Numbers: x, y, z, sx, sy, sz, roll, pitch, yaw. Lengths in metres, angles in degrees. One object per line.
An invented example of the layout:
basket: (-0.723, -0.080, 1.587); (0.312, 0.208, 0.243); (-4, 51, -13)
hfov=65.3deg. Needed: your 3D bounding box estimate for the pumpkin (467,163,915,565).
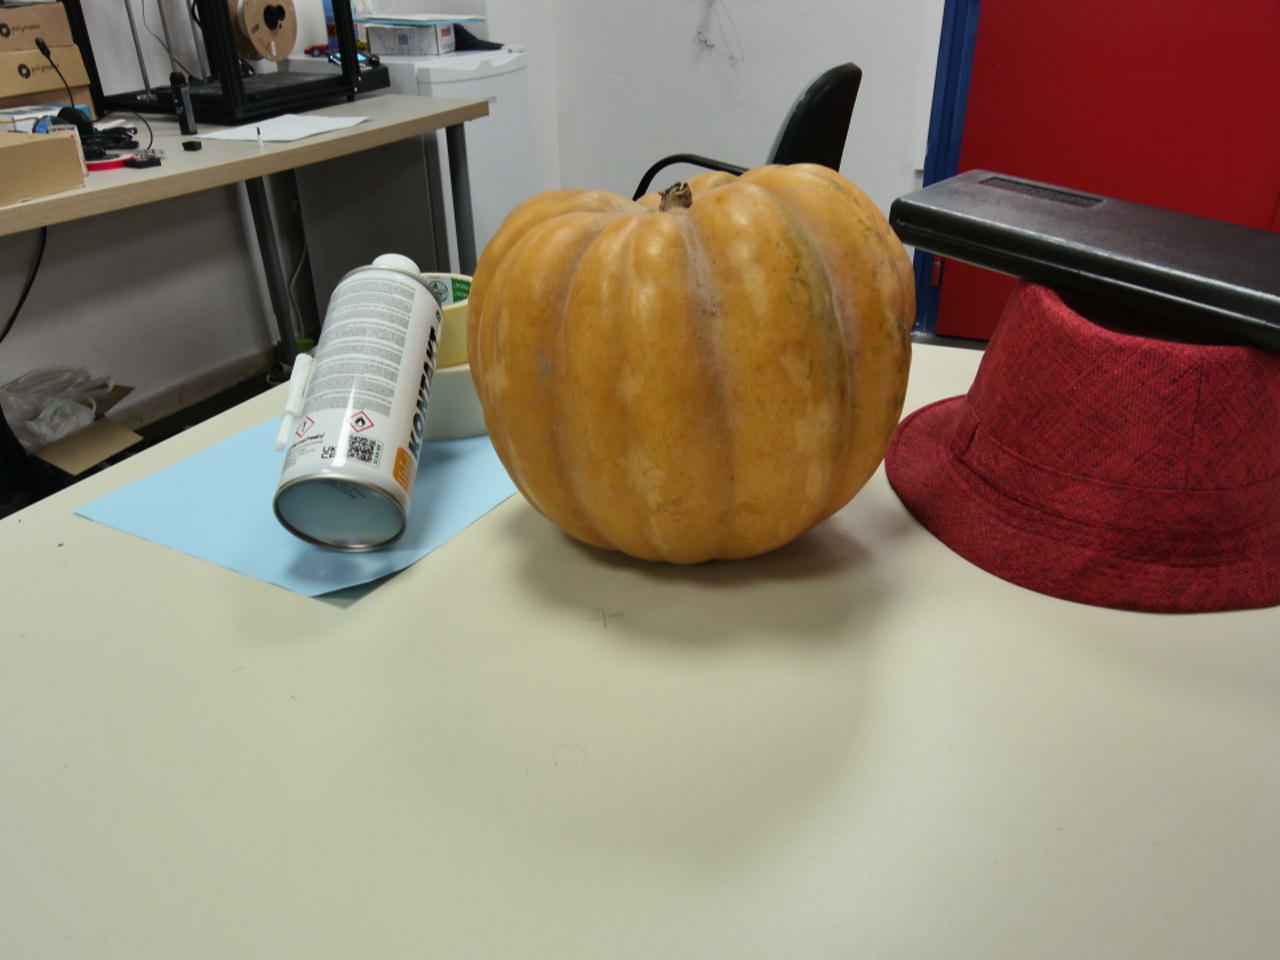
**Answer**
pumpkin: (0.027, -0.062, 0.513); (0.230, 0.194, 0.230); (0, 25, 0)
